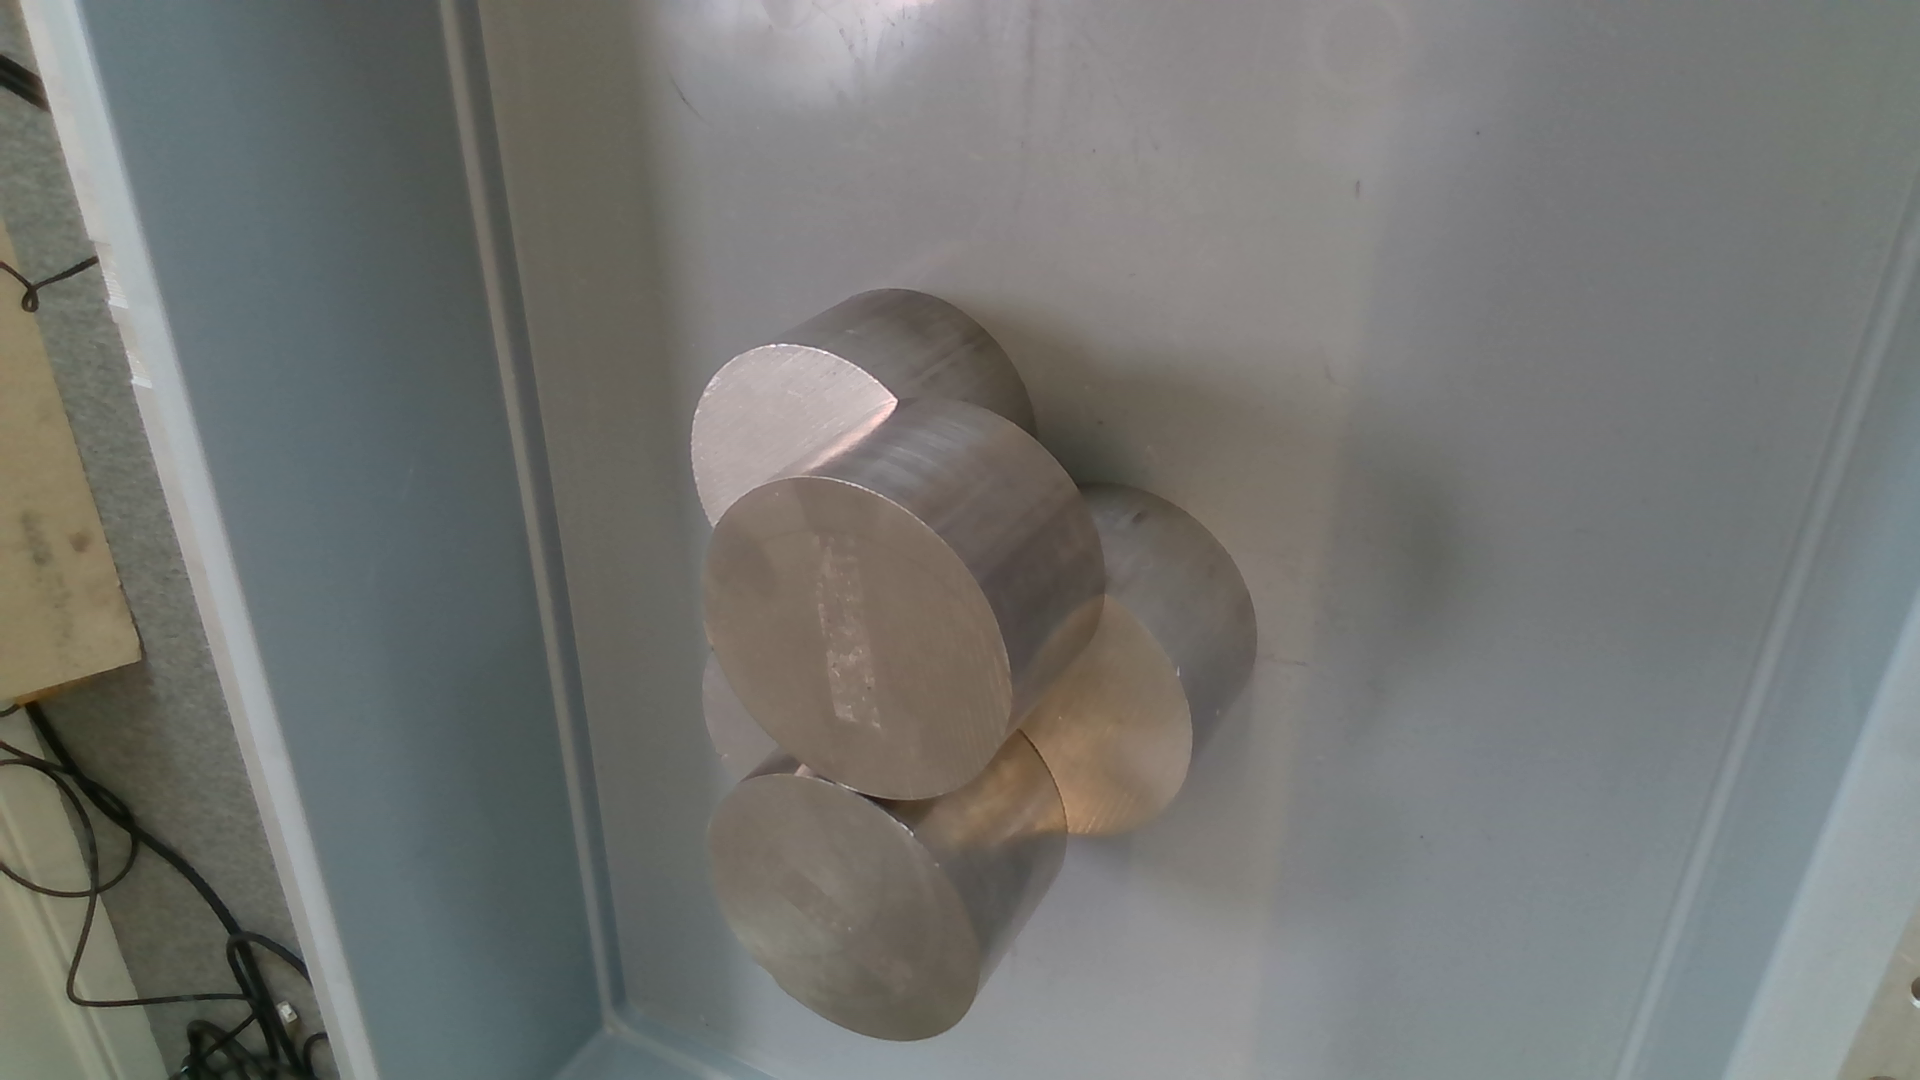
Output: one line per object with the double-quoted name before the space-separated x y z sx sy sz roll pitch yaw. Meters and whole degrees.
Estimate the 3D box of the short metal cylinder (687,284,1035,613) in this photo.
"short metal cylinder" -0.026 -0.023 0.374 0.080 0.050 0.080 15 122 25

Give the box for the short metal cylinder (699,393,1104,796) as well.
"short metal cylinder" -0.013 0.012 0.321 0.080 0.050 0.080 15 122 25

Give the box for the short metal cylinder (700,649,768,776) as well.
"short metal cylinder" -0.031 0.047 0.416 0.080 0.050 0.080 15 122 25

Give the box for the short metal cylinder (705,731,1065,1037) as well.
"short metal cylinder" -0.019 0.082 0.362 0.080 0.050 0.080 15 122 25

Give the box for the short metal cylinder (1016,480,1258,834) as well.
"short metal cylinder" 0.033 0.030 0.368 0.080 0.050 0.080 15 122 25
